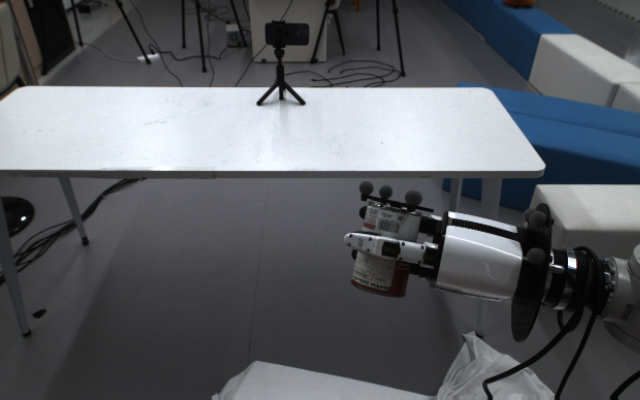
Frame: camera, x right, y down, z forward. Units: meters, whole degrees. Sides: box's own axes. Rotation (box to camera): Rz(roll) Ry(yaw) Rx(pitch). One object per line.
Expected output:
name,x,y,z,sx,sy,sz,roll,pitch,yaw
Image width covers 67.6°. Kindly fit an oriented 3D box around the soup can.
soup can,0.082,0.058,0.583,0.067,0.101,0.067,12,2,0
